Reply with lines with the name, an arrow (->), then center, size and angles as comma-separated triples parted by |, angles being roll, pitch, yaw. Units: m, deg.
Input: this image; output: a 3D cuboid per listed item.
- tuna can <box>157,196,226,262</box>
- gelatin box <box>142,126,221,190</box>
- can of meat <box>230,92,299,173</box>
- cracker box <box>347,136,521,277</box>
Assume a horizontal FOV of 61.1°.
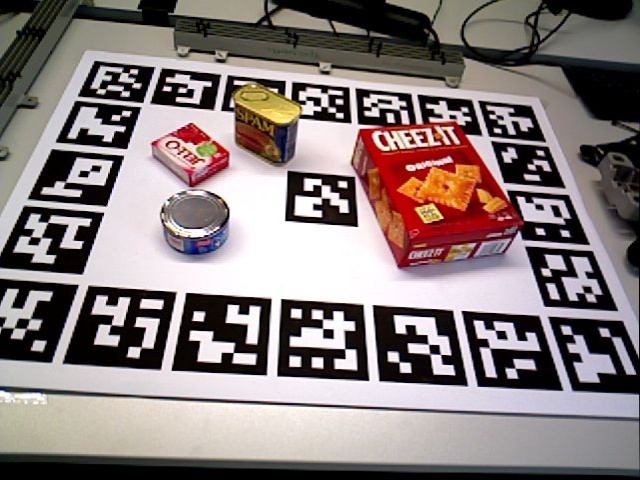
tuna can -> -0.163, -0.014, 0.692 | 0.085, 0.034, 0.084 | 4, 52, -5
gelatin box -> -0.199, -0.120, 0.784 | 0.089, 0.031, 0.071 | 39, 51, 19
can of meat -> -0.086, -0.159, 0.810 | 0.102, 0.086, 0.056 | 27, 50, 15
cracker box -> 0.153, -0.057, 0.768 | 0.162, 0.074, 0.211 | -8, 50, -18
